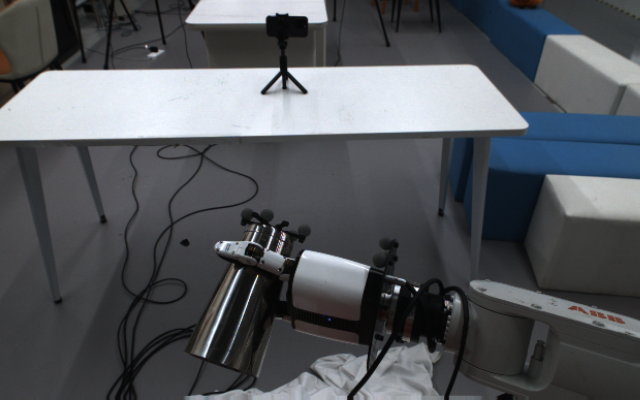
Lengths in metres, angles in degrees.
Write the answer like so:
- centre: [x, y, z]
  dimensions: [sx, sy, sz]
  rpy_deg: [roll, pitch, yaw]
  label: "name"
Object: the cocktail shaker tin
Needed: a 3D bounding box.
- centre: [-0.087, 0.117, 0.597]
  dimensions: [0.093, 0.093, 0.170]
  rpy_deg: [12, 65, 14]
  label: "cocktail shaker tin"
